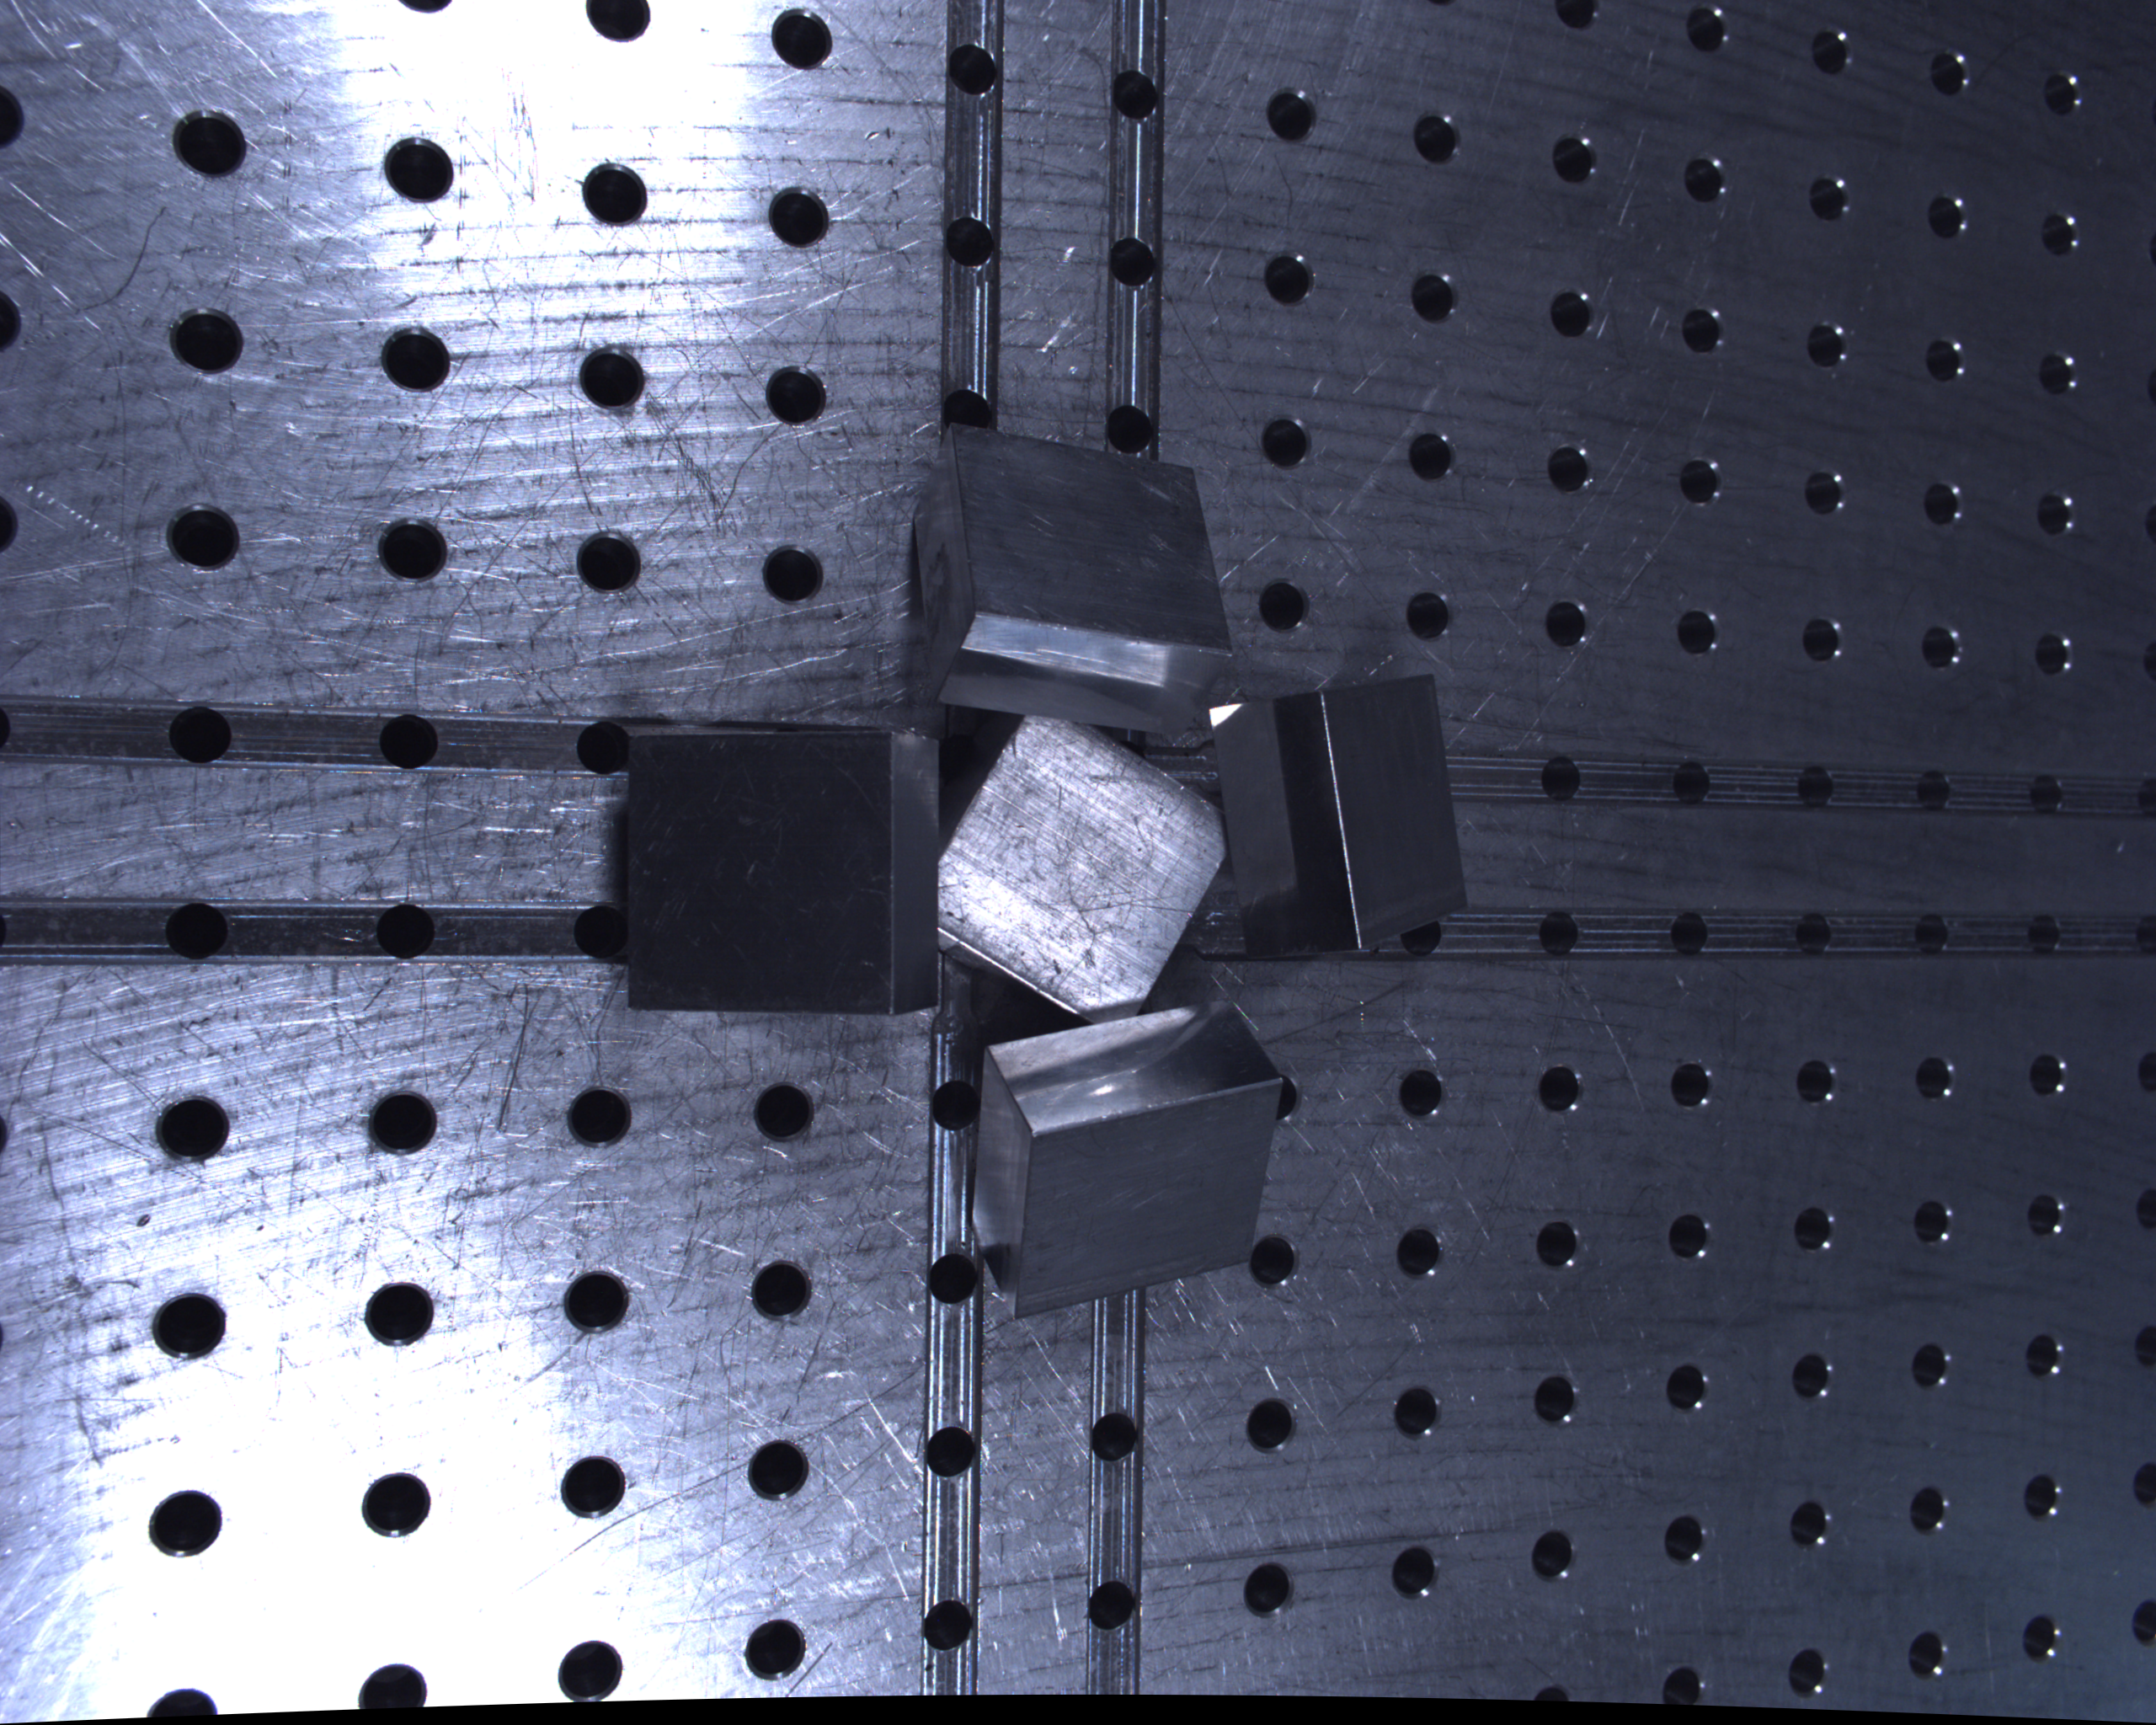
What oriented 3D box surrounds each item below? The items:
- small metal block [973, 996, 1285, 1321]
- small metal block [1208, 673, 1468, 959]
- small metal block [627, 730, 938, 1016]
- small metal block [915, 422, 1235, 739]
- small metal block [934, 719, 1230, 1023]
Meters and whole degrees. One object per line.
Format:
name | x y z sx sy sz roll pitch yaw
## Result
small metal block | 0.009 0.057 0.404 0.050 0.025 0.050 -10 129 -20
small metal block | 0.053 -0.010 0.421 0.050 0.025 0.050 -14 96 -55
small metal block | -0.054 0.002 0.381 0.050 0.025 0.050 0 90 14
small metal block | -0.002 -0.054 0.400 0.050 0.025 0.050 7 52 -20
small metal block | -0.004 0.001 0.412 0.050 0.025 0.050 33 79 -18
